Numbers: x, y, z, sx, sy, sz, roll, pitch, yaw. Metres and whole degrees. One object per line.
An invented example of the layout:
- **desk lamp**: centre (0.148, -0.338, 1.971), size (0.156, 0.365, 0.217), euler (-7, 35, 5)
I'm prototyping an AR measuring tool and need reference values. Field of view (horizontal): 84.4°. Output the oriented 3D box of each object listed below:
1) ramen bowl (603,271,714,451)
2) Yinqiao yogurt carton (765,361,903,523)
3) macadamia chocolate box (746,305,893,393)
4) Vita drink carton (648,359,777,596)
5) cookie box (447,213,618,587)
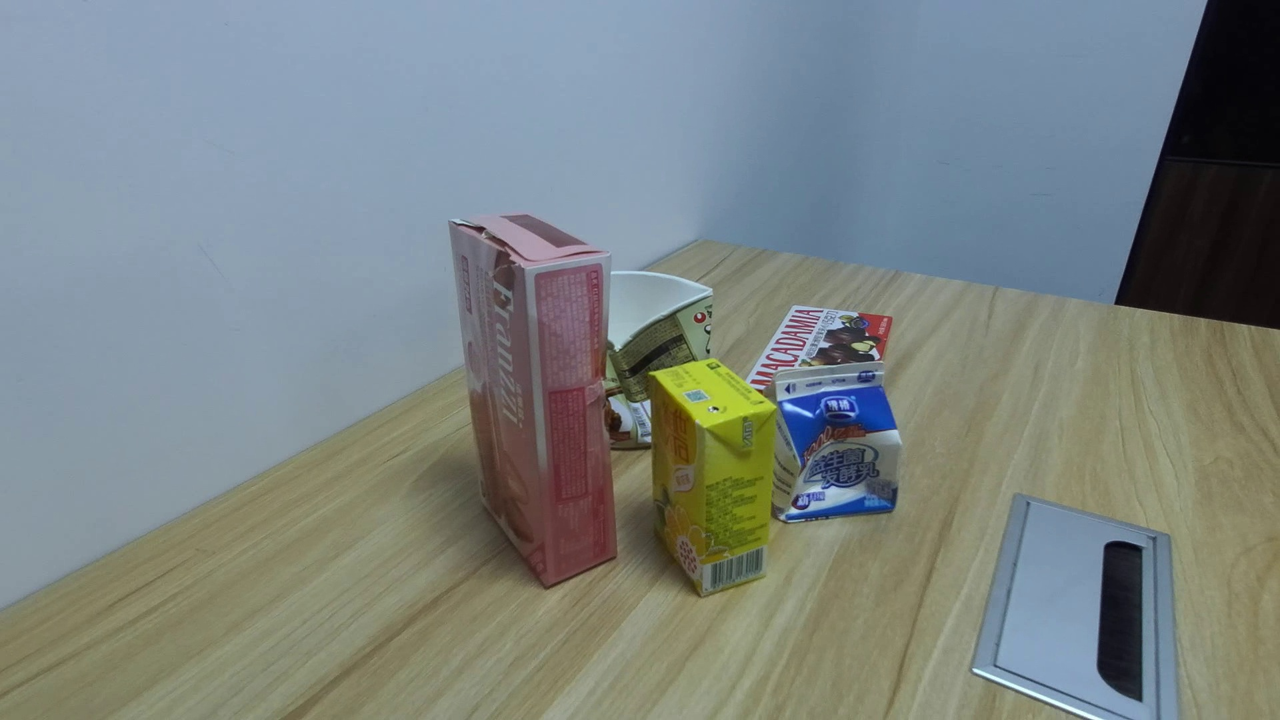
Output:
- **ramen bowl**: centre (-0.009, -0.007, 0.539), size (0.137, 0.098, 0.137), euler (1, 25, 0)
- **Yinqiao yogurt carton**: centre (0.115, 0.042, 0.438), size (0.077, 0.094, 0.071), euler (-5, 31, -6)
- **macadamia chocolate box**: centre (0.156, 0.001, 0.602), size (0.095, 0.027, 0.178), euler (10, 28, 22)
- **Vita drink carton**: centre (0.037, 0.063, 0.385), size (0.044, 0.109, 0.066), euler (-12, 28, -21)
- **cookie box**: centre (-0.054, 0.021, 0.389), size (0.049, 0.187, 0.104), euler (-16, 29, -29)
